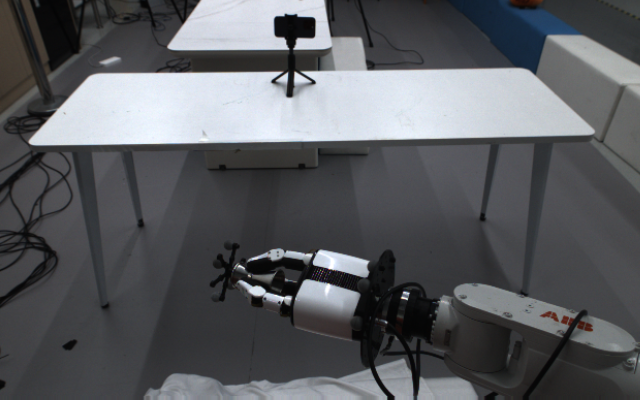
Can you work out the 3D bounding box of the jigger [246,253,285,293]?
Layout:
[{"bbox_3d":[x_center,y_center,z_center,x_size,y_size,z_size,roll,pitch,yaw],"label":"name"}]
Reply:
[{"bbox_3d":[-0.086,0.115,0.715,0.071,0.043,0.043,10,35,22],"label":"jigger"}]
